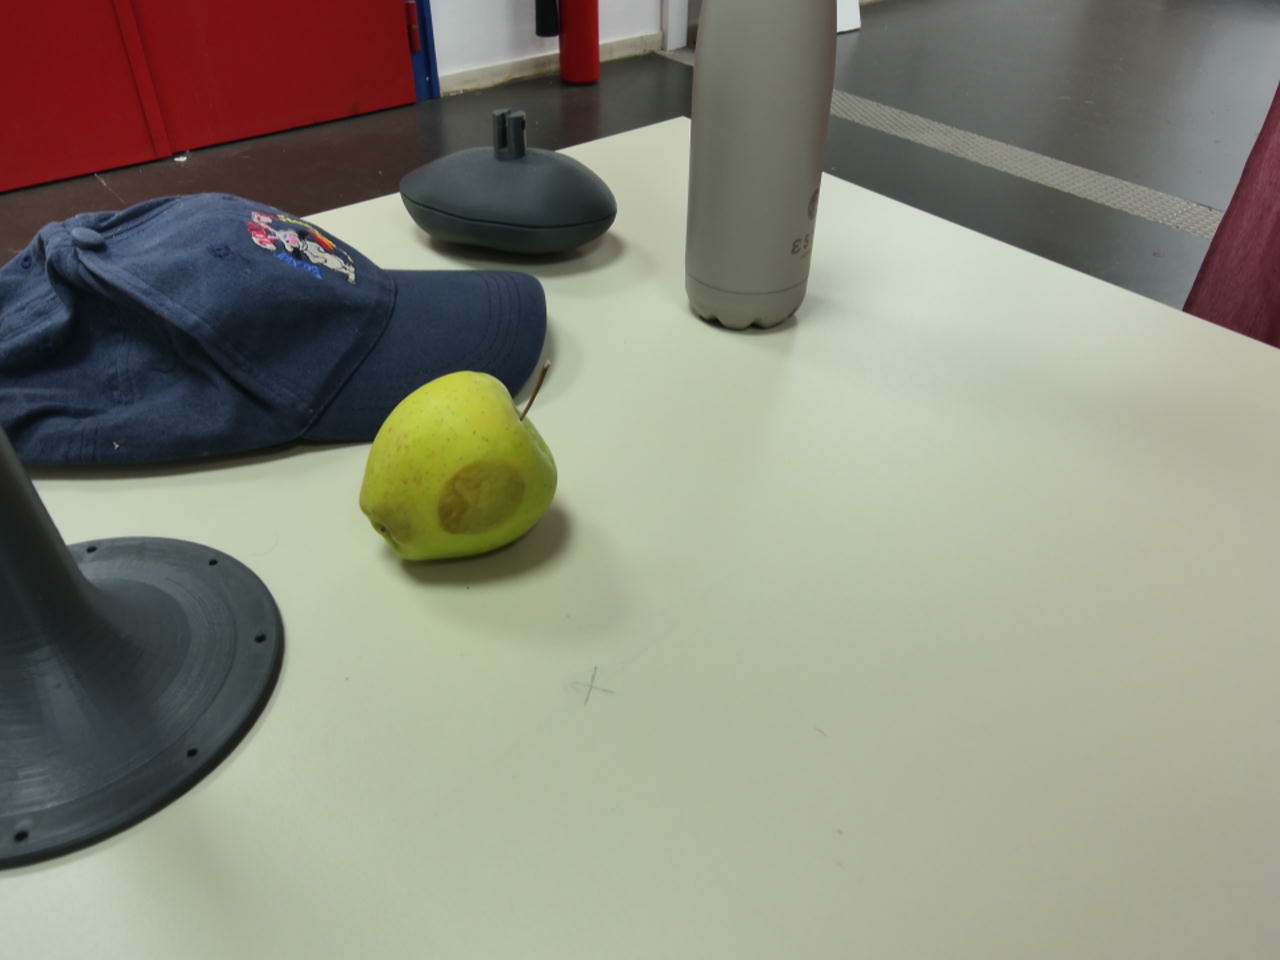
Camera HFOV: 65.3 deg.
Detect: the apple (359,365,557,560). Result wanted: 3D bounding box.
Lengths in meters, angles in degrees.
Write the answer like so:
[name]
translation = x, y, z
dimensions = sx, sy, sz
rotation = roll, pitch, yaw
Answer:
[apple]
translation = -0.073, -0.007, 0.409
dimensions = 0.077, 0.075, 0.072
rotation = 4, 37, 3
